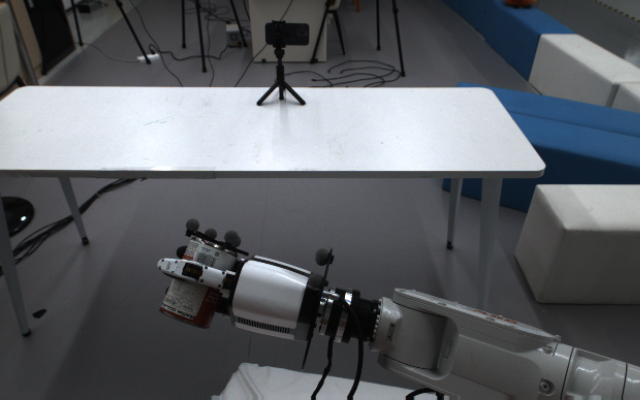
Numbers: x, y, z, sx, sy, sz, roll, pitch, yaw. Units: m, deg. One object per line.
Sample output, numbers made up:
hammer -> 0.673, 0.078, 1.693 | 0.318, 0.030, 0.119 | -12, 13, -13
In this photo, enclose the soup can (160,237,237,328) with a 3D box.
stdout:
soup can -> -0.154, 0.108, 0.626 | 0.067, 0.067, 0.101 | 16, 75, 19
